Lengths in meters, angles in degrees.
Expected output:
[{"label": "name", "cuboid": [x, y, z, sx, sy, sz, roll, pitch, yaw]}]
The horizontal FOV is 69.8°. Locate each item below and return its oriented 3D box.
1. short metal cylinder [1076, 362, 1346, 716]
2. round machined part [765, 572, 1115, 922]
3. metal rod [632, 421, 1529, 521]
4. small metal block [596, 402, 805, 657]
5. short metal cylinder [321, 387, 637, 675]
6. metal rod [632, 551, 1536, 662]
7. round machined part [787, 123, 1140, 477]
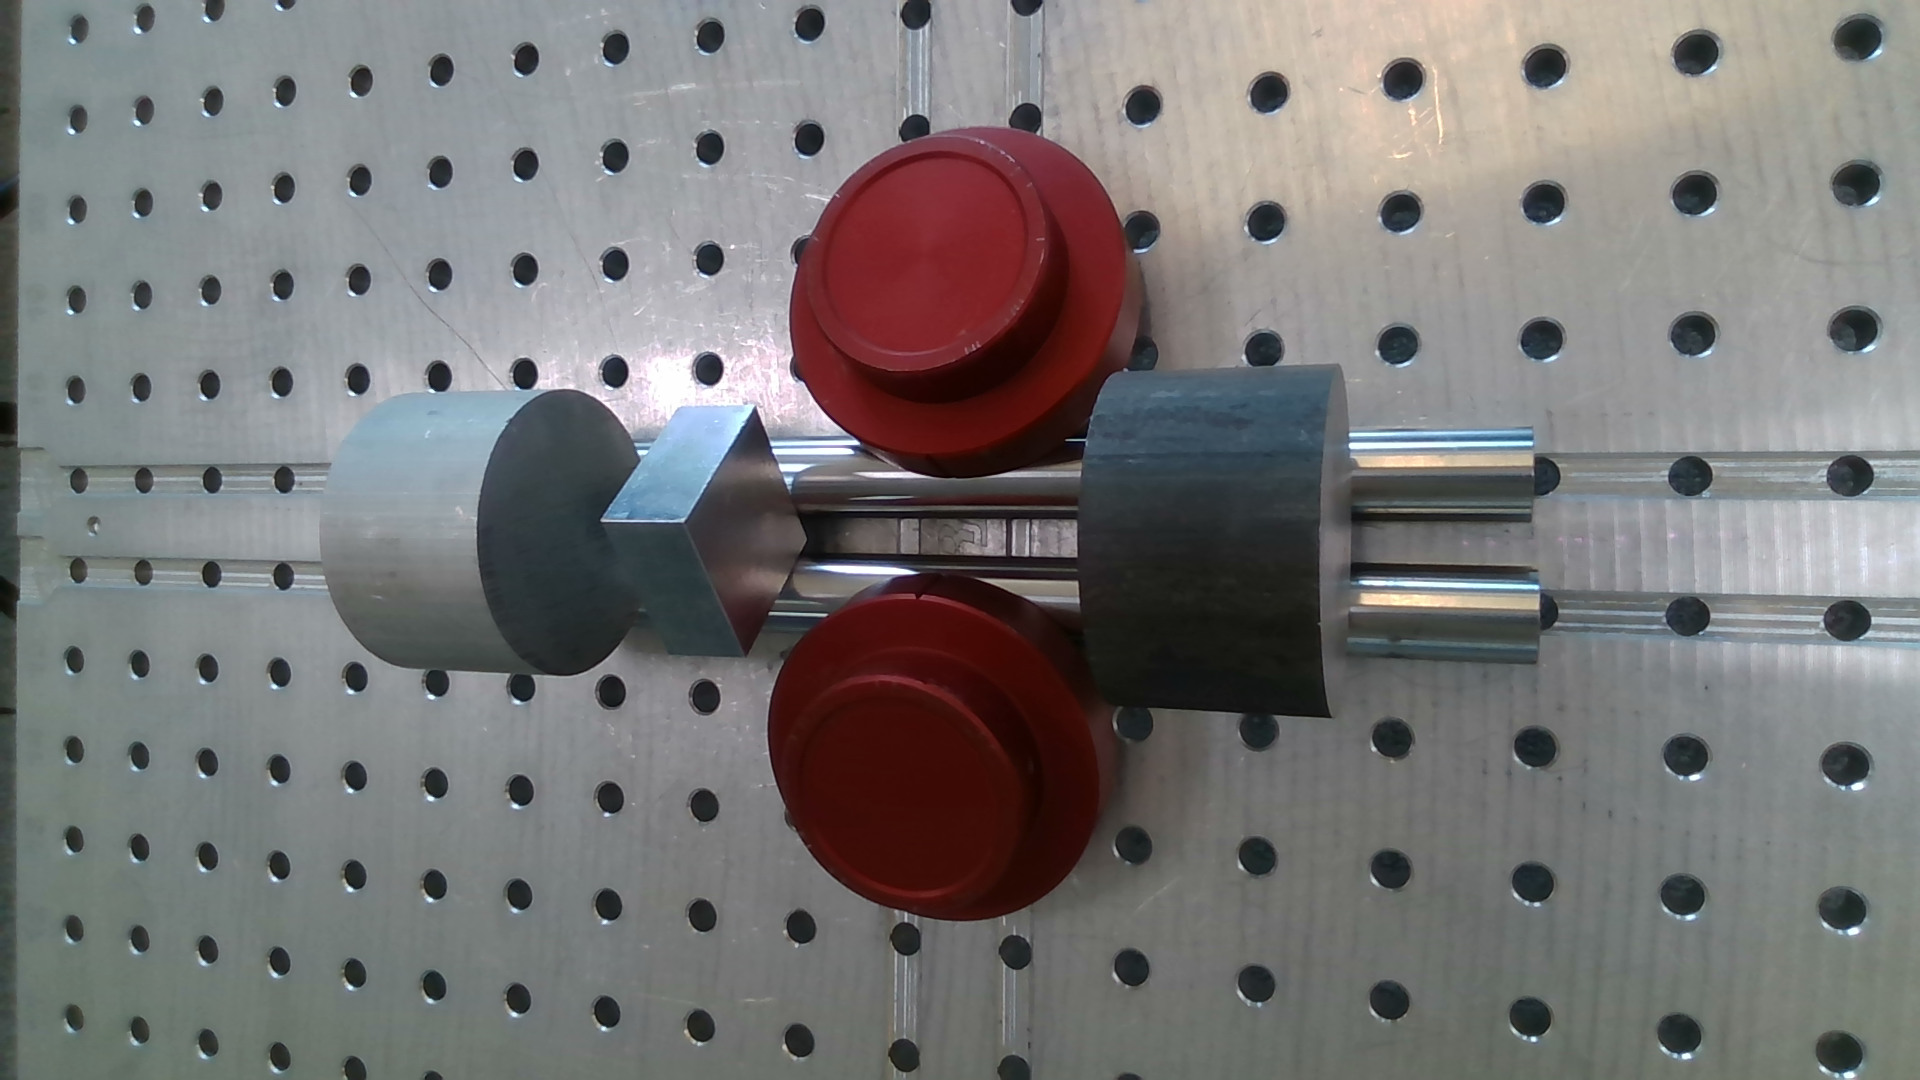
[{"label": "short metal cylinder", "cuboid": [0.062, 0.000, 0.321, 0.050, 0.080, 0.080, 1, 90, 20]}, {"label": "round machined part", "cuboid": [-0.010, 0.061, 0.377, 0.098, 0.042, 0.098, 6, 107, 19]}, {"label": "metal rod", "cuboid": [0.001, -0.019, 0.395, 0.300, 0.025, 0.025, 1, 90, 20]}, {"label": "small metal block", "cuboid": [-0.070, -0.003, 0.384, 0.025, 0.050, 0.050, 1, 132, 20]}, {"label": "short metal cylinder", "cuboid": [-0.132, -0.003, 0.392, 0.050, 0.080, 0.080, 1, 90, 20]}, {"label": "metal rod", "cuboid": [0.002, 0.016, 0.395, 0.300, 0.025, 0.025, 1, 90, 20]}, {"label": "round machined part", "cuboid": [-0.003, -0.070, 0.375, 0.098, 0.042, 0.098, -5, 75, 19]}]
